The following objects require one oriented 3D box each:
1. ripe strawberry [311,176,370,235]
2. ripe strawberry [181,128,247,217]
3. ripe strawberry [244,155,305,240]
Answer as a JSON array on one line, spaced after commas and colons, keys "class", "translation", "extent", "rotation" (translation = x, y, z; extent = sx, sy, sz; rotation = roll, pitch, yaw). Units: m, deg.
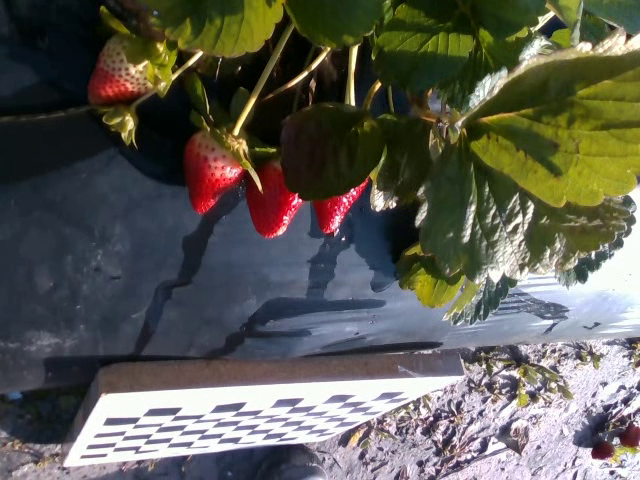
[{"class": "ripe strawberry", "translation": [0.006, -0.019, 0.283], "extent": [0.035, 0.041, 0.033], "rotation": [4, 8, -20]}, {"class": "ripe strawberry", "translation": [-0.047, -0.027, 0.261], "extent": [0.031, 0.023, 0.045], "rotation": [6, -46, -24]}, {"class": "ripe strawberry", "translation": [-0.020, -0.019, 0.269], "extent": [0.030, 0.039, 0.036], "rotation": [13, -9, -33]}]
